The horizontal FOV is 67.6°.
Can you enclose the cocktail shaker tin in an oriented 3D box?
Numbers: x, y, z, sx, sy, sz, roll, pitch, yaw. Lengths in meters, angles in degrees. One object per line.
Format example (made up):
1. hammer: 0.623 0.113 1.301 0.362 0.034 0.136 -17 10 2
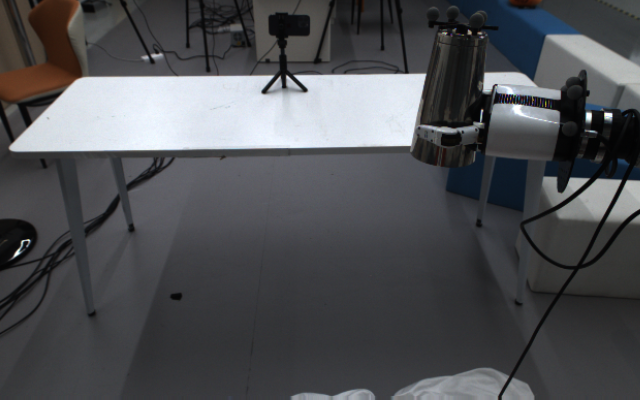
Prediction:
1. cocktail shaker tin: 0.182 -0.142 0.664 0.093 0.170 0.093 1 28 -1
